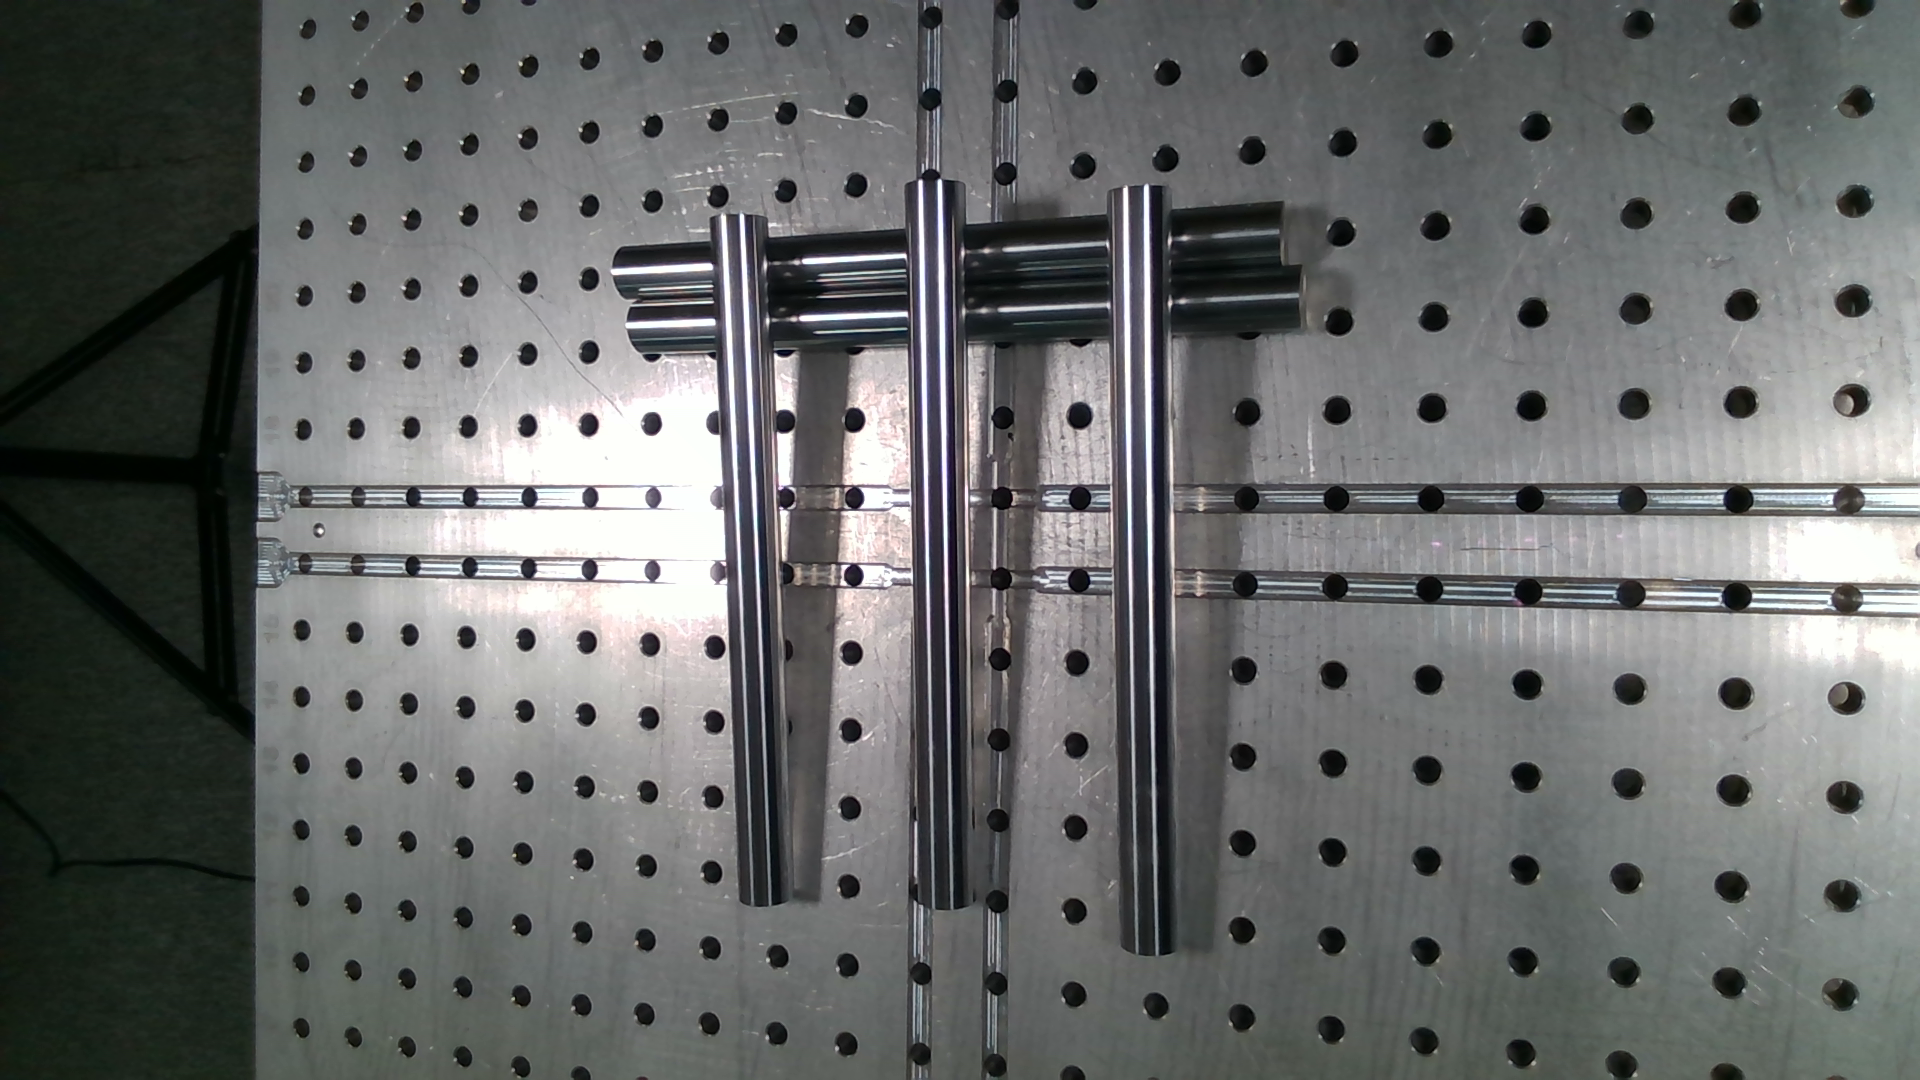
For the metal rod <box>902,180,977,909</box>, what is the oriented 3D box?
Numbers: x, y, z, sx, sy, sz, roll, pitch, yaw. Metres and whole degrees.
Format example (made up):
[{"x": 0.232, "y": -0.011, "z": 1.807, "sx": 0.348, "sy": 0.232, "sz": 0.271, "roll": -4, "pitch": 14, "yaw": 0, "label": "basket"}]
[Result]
[{"x": -0.008, "y": 0.005, "z": 0.575, "sx": 0.025, "sy": 0.025, "sz": 0.300, "roll": 1, "pitch": 97, "yaw": 20, "label": "metal rod"}]

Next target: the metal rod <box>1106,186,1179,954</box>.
[{"x": 0.073, "y": 0.015, "z": 0.546, "sx": 0.025, "sy": 0.025, "sz": 0.300, "roll": 1, "pitch": 97, "yaw": 20, "label": "metal rod"}]

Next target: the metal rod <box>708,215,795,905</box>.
[{"x": -0.091, "y": 0.012, "z": 0.606, "sx": 0.025, "sy": 0.025, "sz": 0.300, "roll": 1, "pitch": 97, "yaw": 20, "label": "metal rod"}]

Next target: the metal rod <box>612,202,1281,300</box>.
[{"x": -0.015, "y": -0.122, "z": 0.592, "sx": 0.300, "sy": 0.025, "sz": 0.025, "roll": 1, "pitch": 91, "yaw": 20, "label": "metal rod"}]

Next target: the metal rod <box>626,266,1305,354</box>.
[{"x": -0.008, "y": -0.097, "z": 0.589, "sx": 0.300, "sy": 0.025, "sz": 0.025, "roll": 1, "pitch": 91, "yaw": 20, "label": "metal rod"}]
